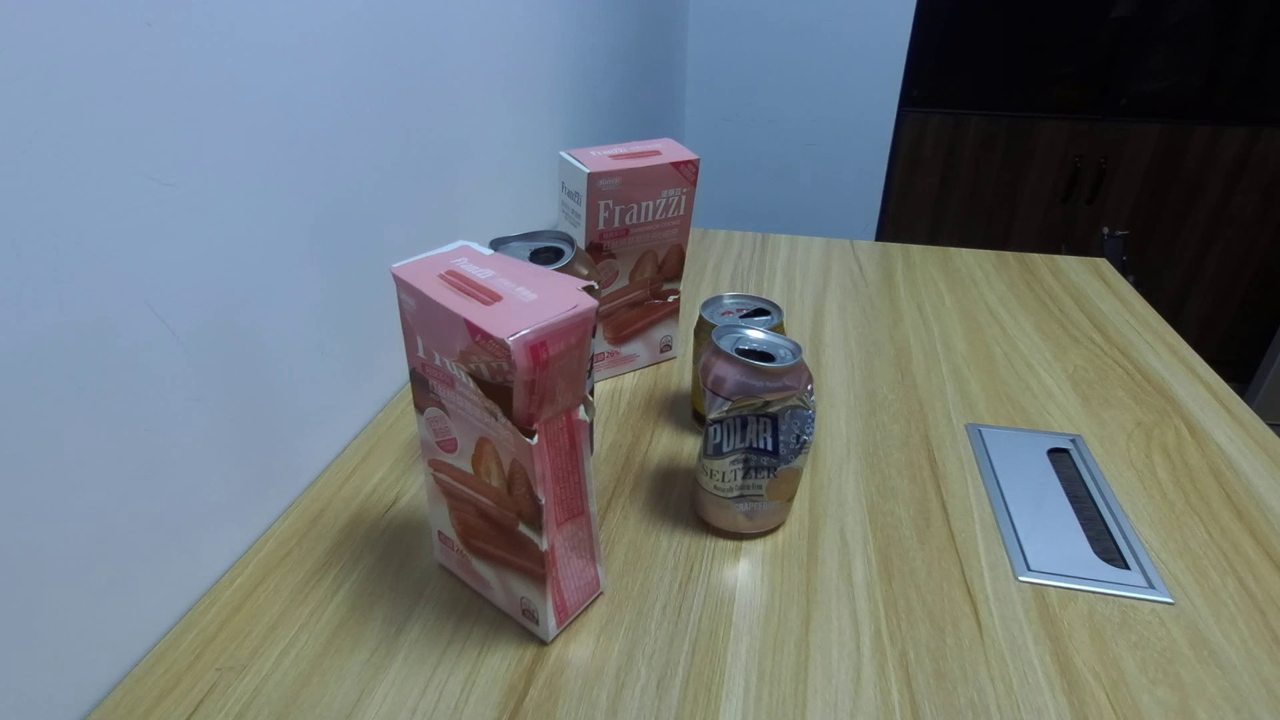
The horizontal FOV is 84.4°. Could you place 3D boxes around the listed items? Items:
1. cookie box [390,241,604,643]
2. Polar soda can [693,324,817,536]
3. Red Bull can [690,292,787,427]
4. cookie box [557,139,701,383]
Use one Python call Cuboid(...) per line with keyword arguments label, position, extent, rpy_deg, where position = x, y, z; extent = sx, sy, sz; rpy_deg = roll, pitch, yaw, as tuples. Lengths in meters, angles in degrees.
Cuboid(label="cookie box", position=(-0.068, 0.044, 0.363), extent=(0.104, 0.186, 0.059), rpy_deg=(25, 39, 35))
Cuboid(label="Polar soda can", position=(0.069, 0.042, 0.431), extent=(0.071, 0.122, 0.066), rpy_deg=(2, 25, 2))
Cuboid(label="Red Bull can", position=(0.071, 0.005, 0.511), extent=(0.069, 0.092, 0.069), rpy_deg=(0, 27, 1))
Cuboid(label="cookie box", position=(-0.008, -0.075, 0.568), extent=(0.105, 0.187, 0.048), rpy_deg=(-15, 40, -26))
